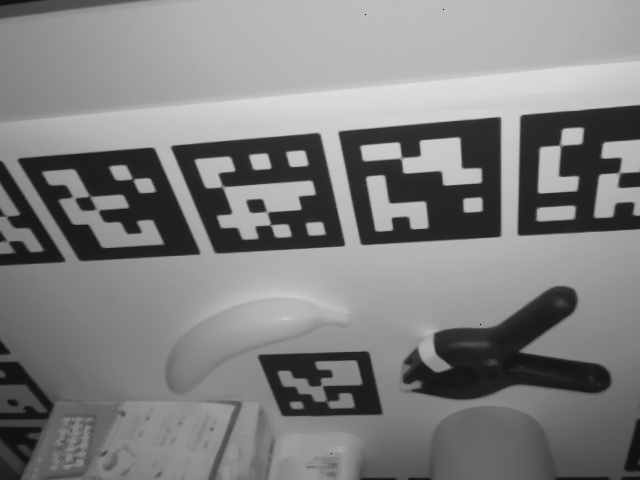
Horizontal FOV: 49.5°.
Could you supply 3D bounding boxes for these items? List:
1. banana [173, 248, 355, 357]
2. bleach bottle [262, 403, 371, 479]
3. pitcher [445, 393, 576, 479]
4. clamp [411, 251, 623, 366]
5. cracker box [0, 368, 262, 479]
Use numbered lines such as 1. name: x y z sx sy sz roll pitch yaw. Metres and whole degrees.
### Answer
1. banana: -0.067 0.051 0.587 0.194 0.039 0.074 -30 123 29
2. bleach bottle: -0.011 0.271 0.626 0.102 0.253 0.067 -1 133 8
3. pitcher: 0.167 0.250 0.560 0.187 0.245 0.133 -15 129 23
4. clamp: 0.153 0.069 0.567 0.163 0.037 0.122 -14 131 20
5. cracker box: -0.170 0.201 0.618 0.213 0.166 0.071 -1 135 6
